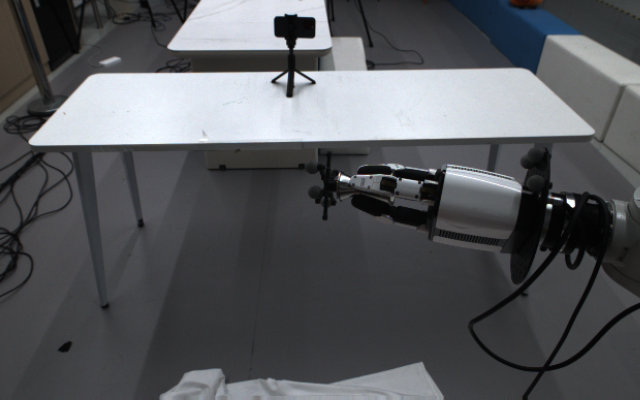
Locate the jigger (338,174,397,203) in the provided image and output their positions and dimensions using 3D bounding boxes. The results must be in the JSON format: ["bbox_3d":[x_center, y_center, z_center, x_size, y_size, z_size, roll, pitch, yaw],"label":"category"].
[{"bbox_3d":[0.066,-0.020,0.609,0.071,0.043,0.043,2,34,17],"label":"jigger"}]
